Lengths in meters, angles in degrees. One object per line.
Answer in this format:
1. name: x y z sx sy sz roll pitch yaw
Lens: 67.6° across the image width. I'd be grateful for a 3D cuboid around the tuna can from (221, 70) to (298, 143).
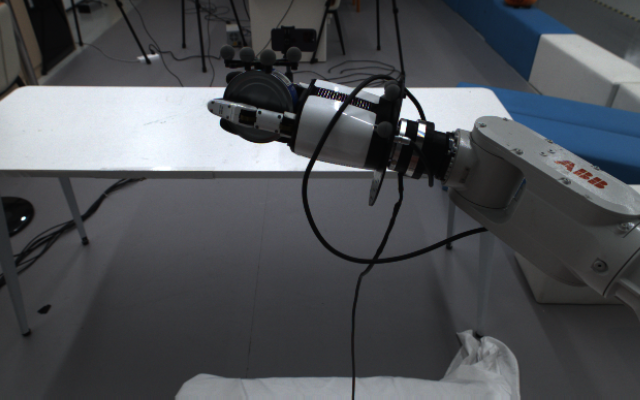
1. tuna can: -0.068 -0.114 0.577 0.085 0.085 0.034 9 23 9
